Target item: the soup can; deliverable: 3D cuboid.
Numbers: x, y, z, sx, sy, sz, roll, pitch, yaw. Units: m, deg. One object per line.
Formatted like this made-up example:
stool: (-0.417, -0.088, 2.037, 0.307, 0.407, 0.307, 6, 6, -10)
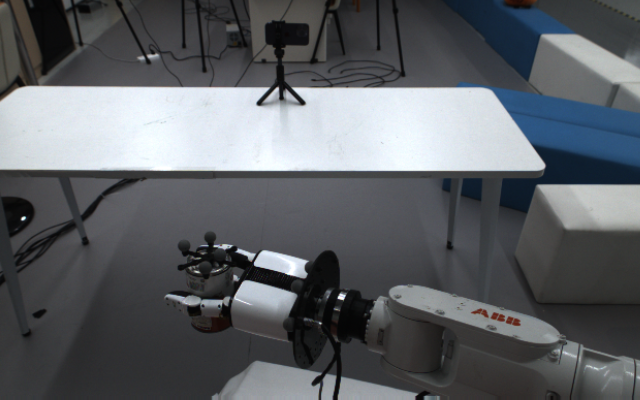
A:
soup can: (-0.156, 0.133, 0.699, 0.067, 0.101, 0.067, 1, 25, 0)
